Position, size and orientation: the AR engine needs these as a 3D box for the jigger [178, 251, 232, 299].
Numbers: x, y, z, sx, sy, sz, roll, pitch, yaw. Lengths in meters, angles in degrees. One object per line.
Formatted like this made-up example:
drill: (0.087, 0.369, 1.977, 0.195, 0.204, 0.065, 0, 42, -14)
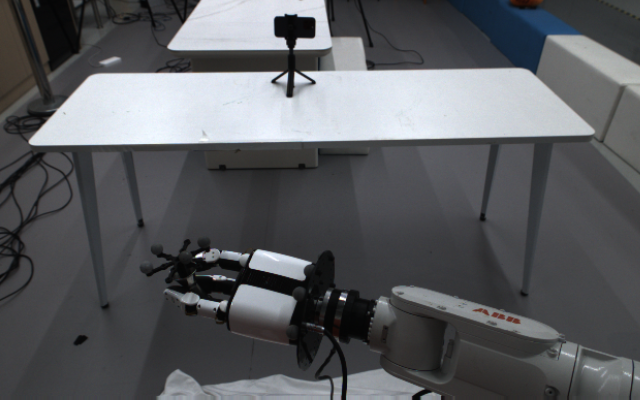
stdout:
jigger: (-0.181, 0.124, 0.687, 0.043, 0.071, 0.043, -10, 33, 6)
